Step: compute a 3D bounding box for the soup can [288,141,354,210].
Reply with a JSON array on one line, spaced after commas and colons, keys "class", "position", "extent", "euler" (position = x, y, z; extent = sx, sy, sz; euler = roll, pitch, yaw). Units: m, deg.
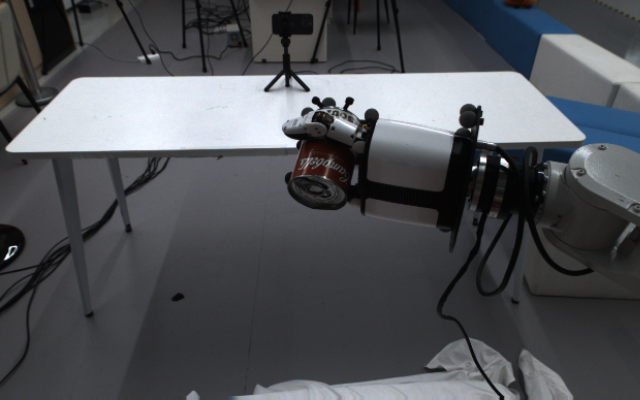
[{"class": "soup can", "position": [0.009, -0.048, 0.551], "extent": [0.067, 0.067, 0.101], "euler": [9, 58, 10]}]
